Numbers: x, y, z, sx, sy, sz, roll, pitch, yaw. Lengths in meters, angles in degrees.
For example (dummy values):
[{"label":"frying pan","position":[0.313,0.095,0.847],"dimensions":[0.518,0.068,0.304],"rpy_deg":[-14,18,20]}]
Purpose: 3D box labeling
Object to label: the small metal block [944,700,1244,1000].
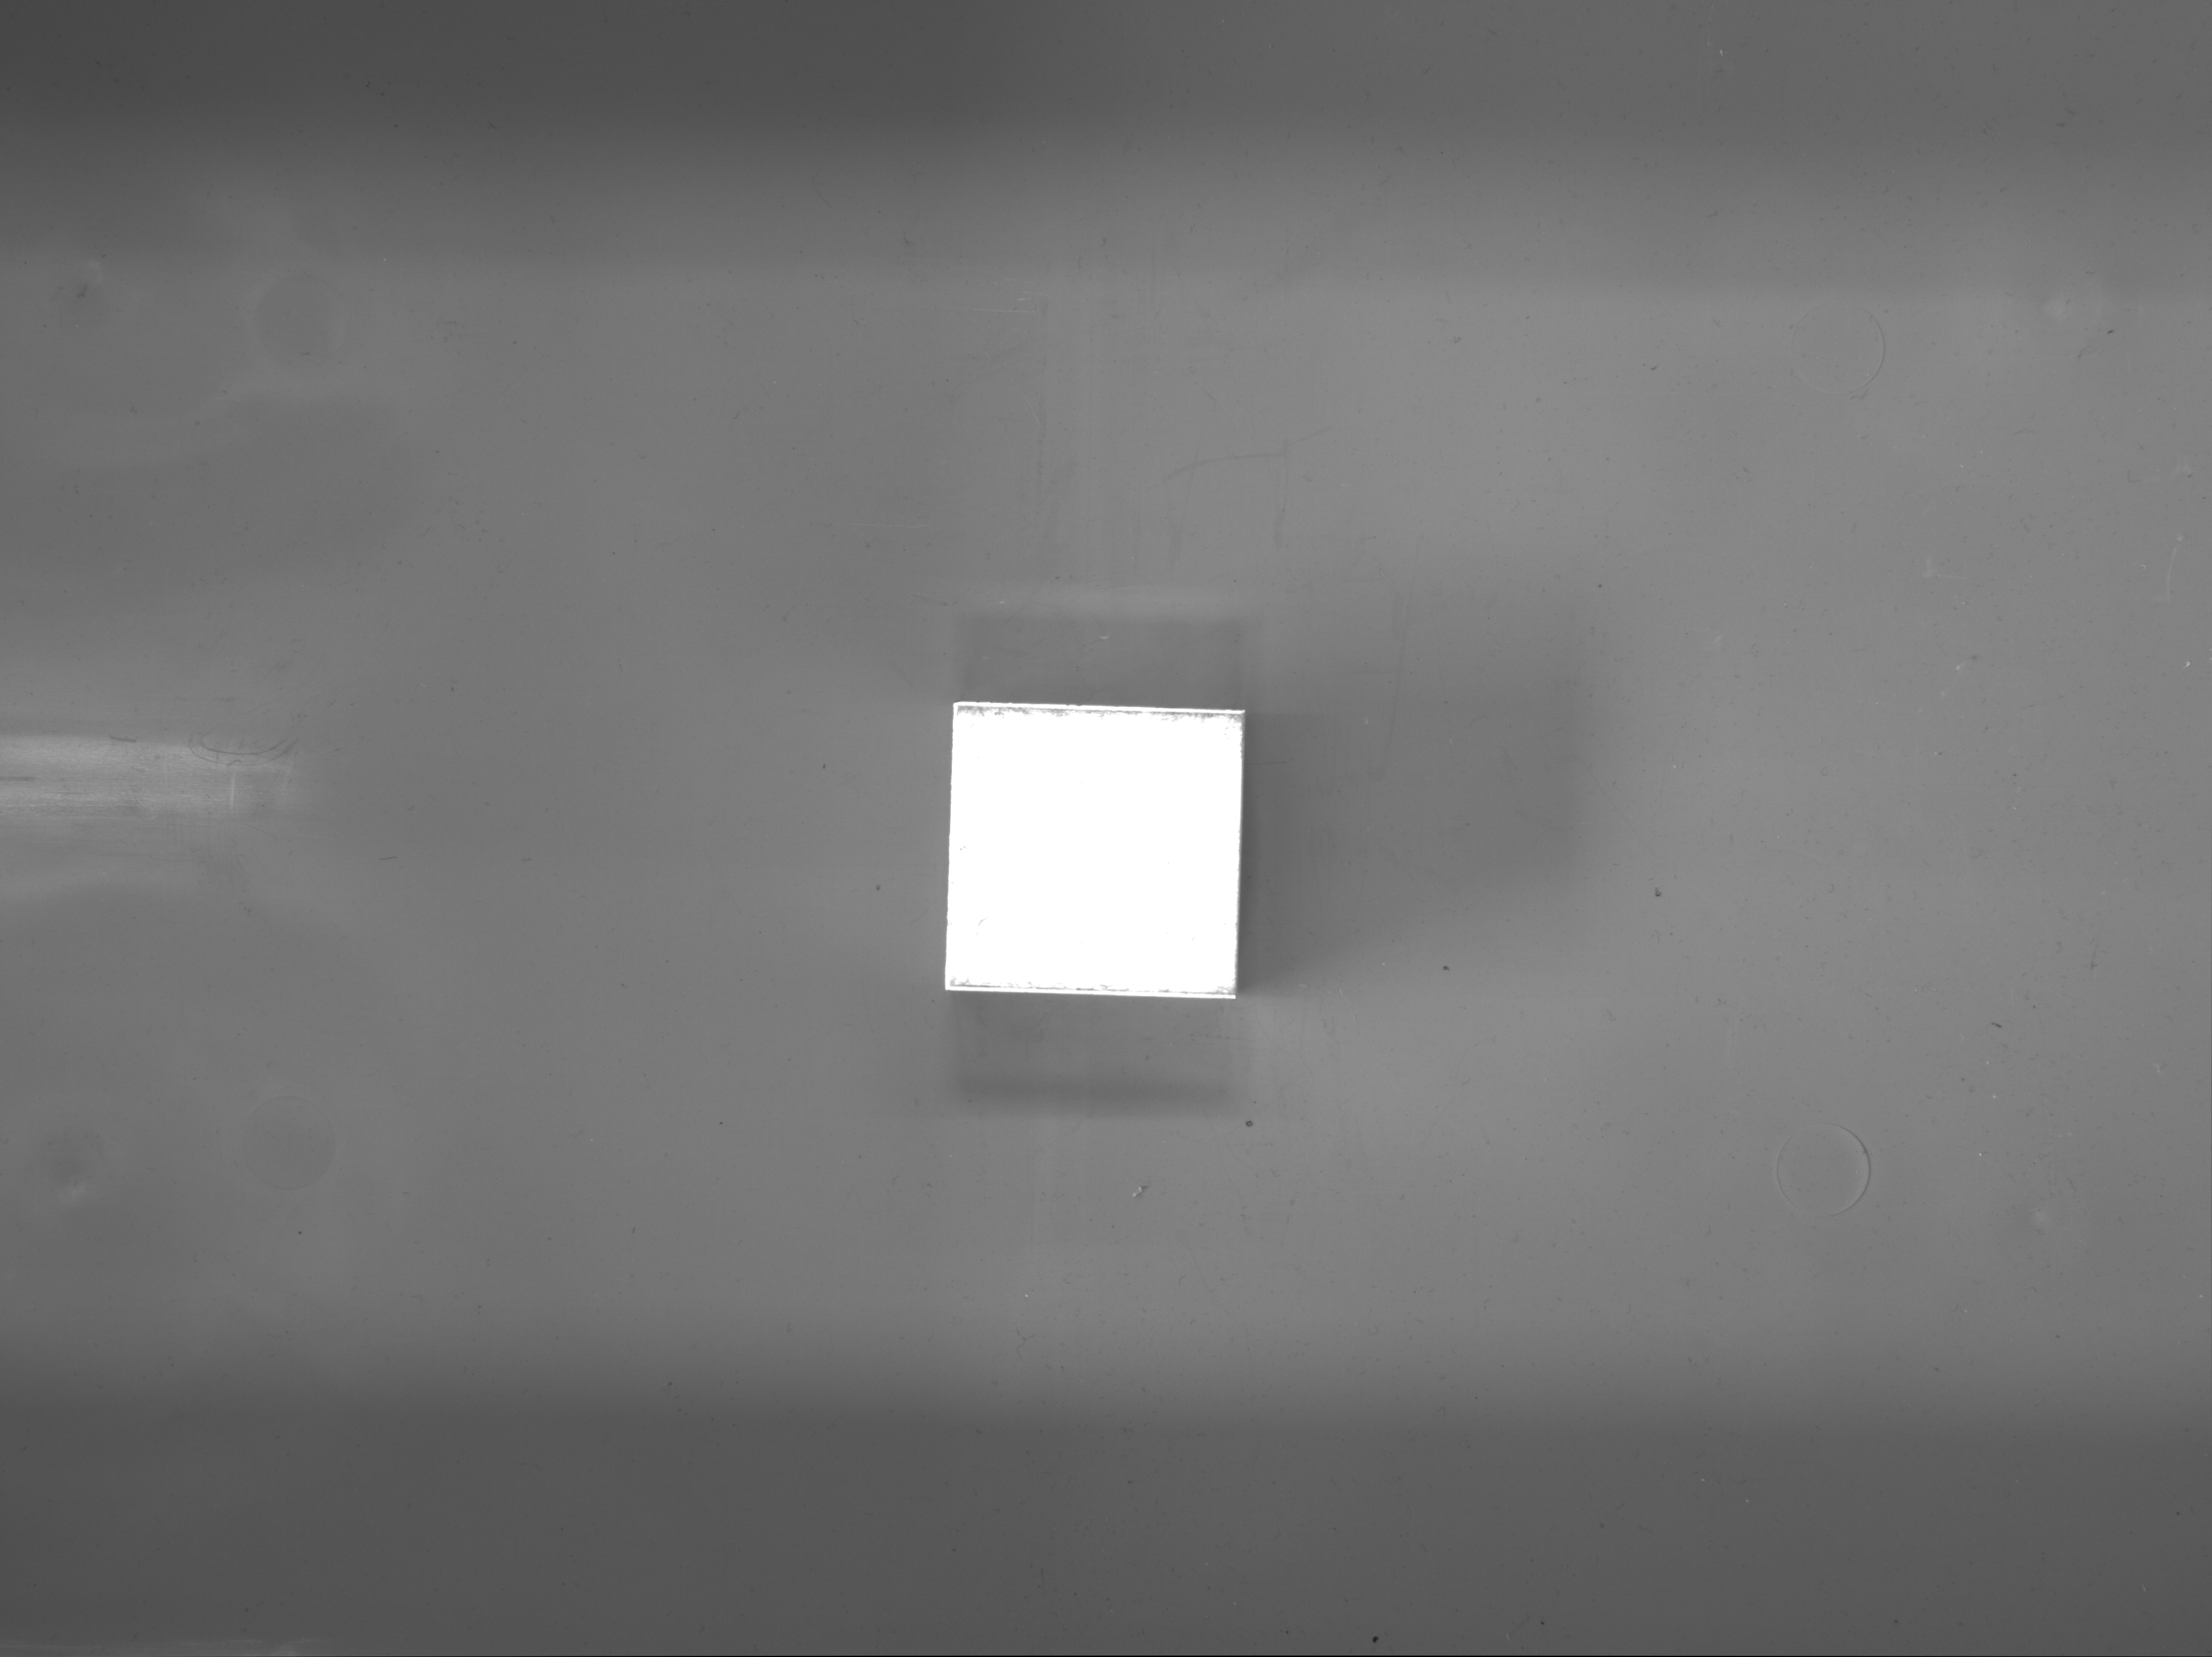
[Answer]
[{"label":"small metal block","position":[-0.002,0.004,0.643],"dimensions":[0.050,0.025,0.050],"rpy_deg":[2,90,0]}]
